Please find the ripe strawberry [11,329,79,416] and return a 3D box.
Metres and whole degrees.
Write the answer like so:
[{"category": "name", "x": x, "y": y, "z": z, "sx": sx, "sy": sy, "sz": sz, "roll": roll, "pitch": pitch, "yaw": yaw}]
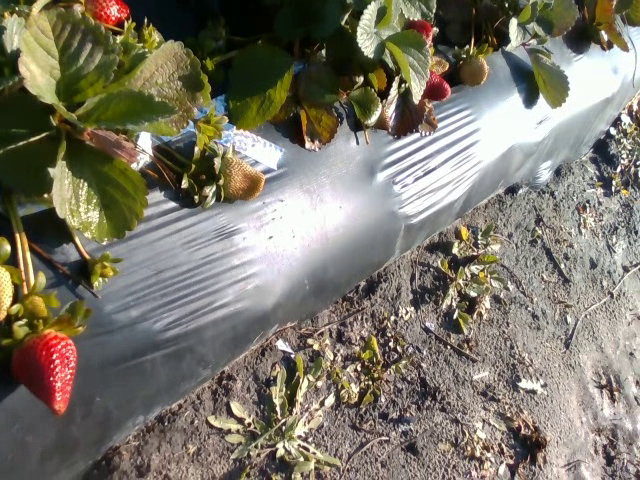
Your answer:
[{"category": "ripe strawberry", "x": -0.167, "y": 0.083, "z": 0.366, "sx": 0.042, "sy": 0.059, "sz": 0.042, "roll": -27, "pitch": -15, "yaw": 38}]
